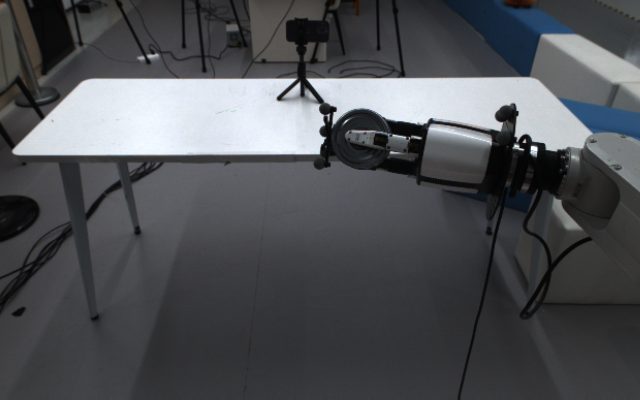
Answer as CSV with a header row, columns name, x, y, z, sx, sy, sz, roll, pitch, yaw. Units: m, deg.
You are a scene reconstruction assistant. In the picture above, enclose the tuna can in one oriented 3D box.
name,x,y,z,sx,sy,sz,roll,pitch,yaw
tuna can,0.063,-0.084,0.688,0.085,0.085,0.034,10,2,11
